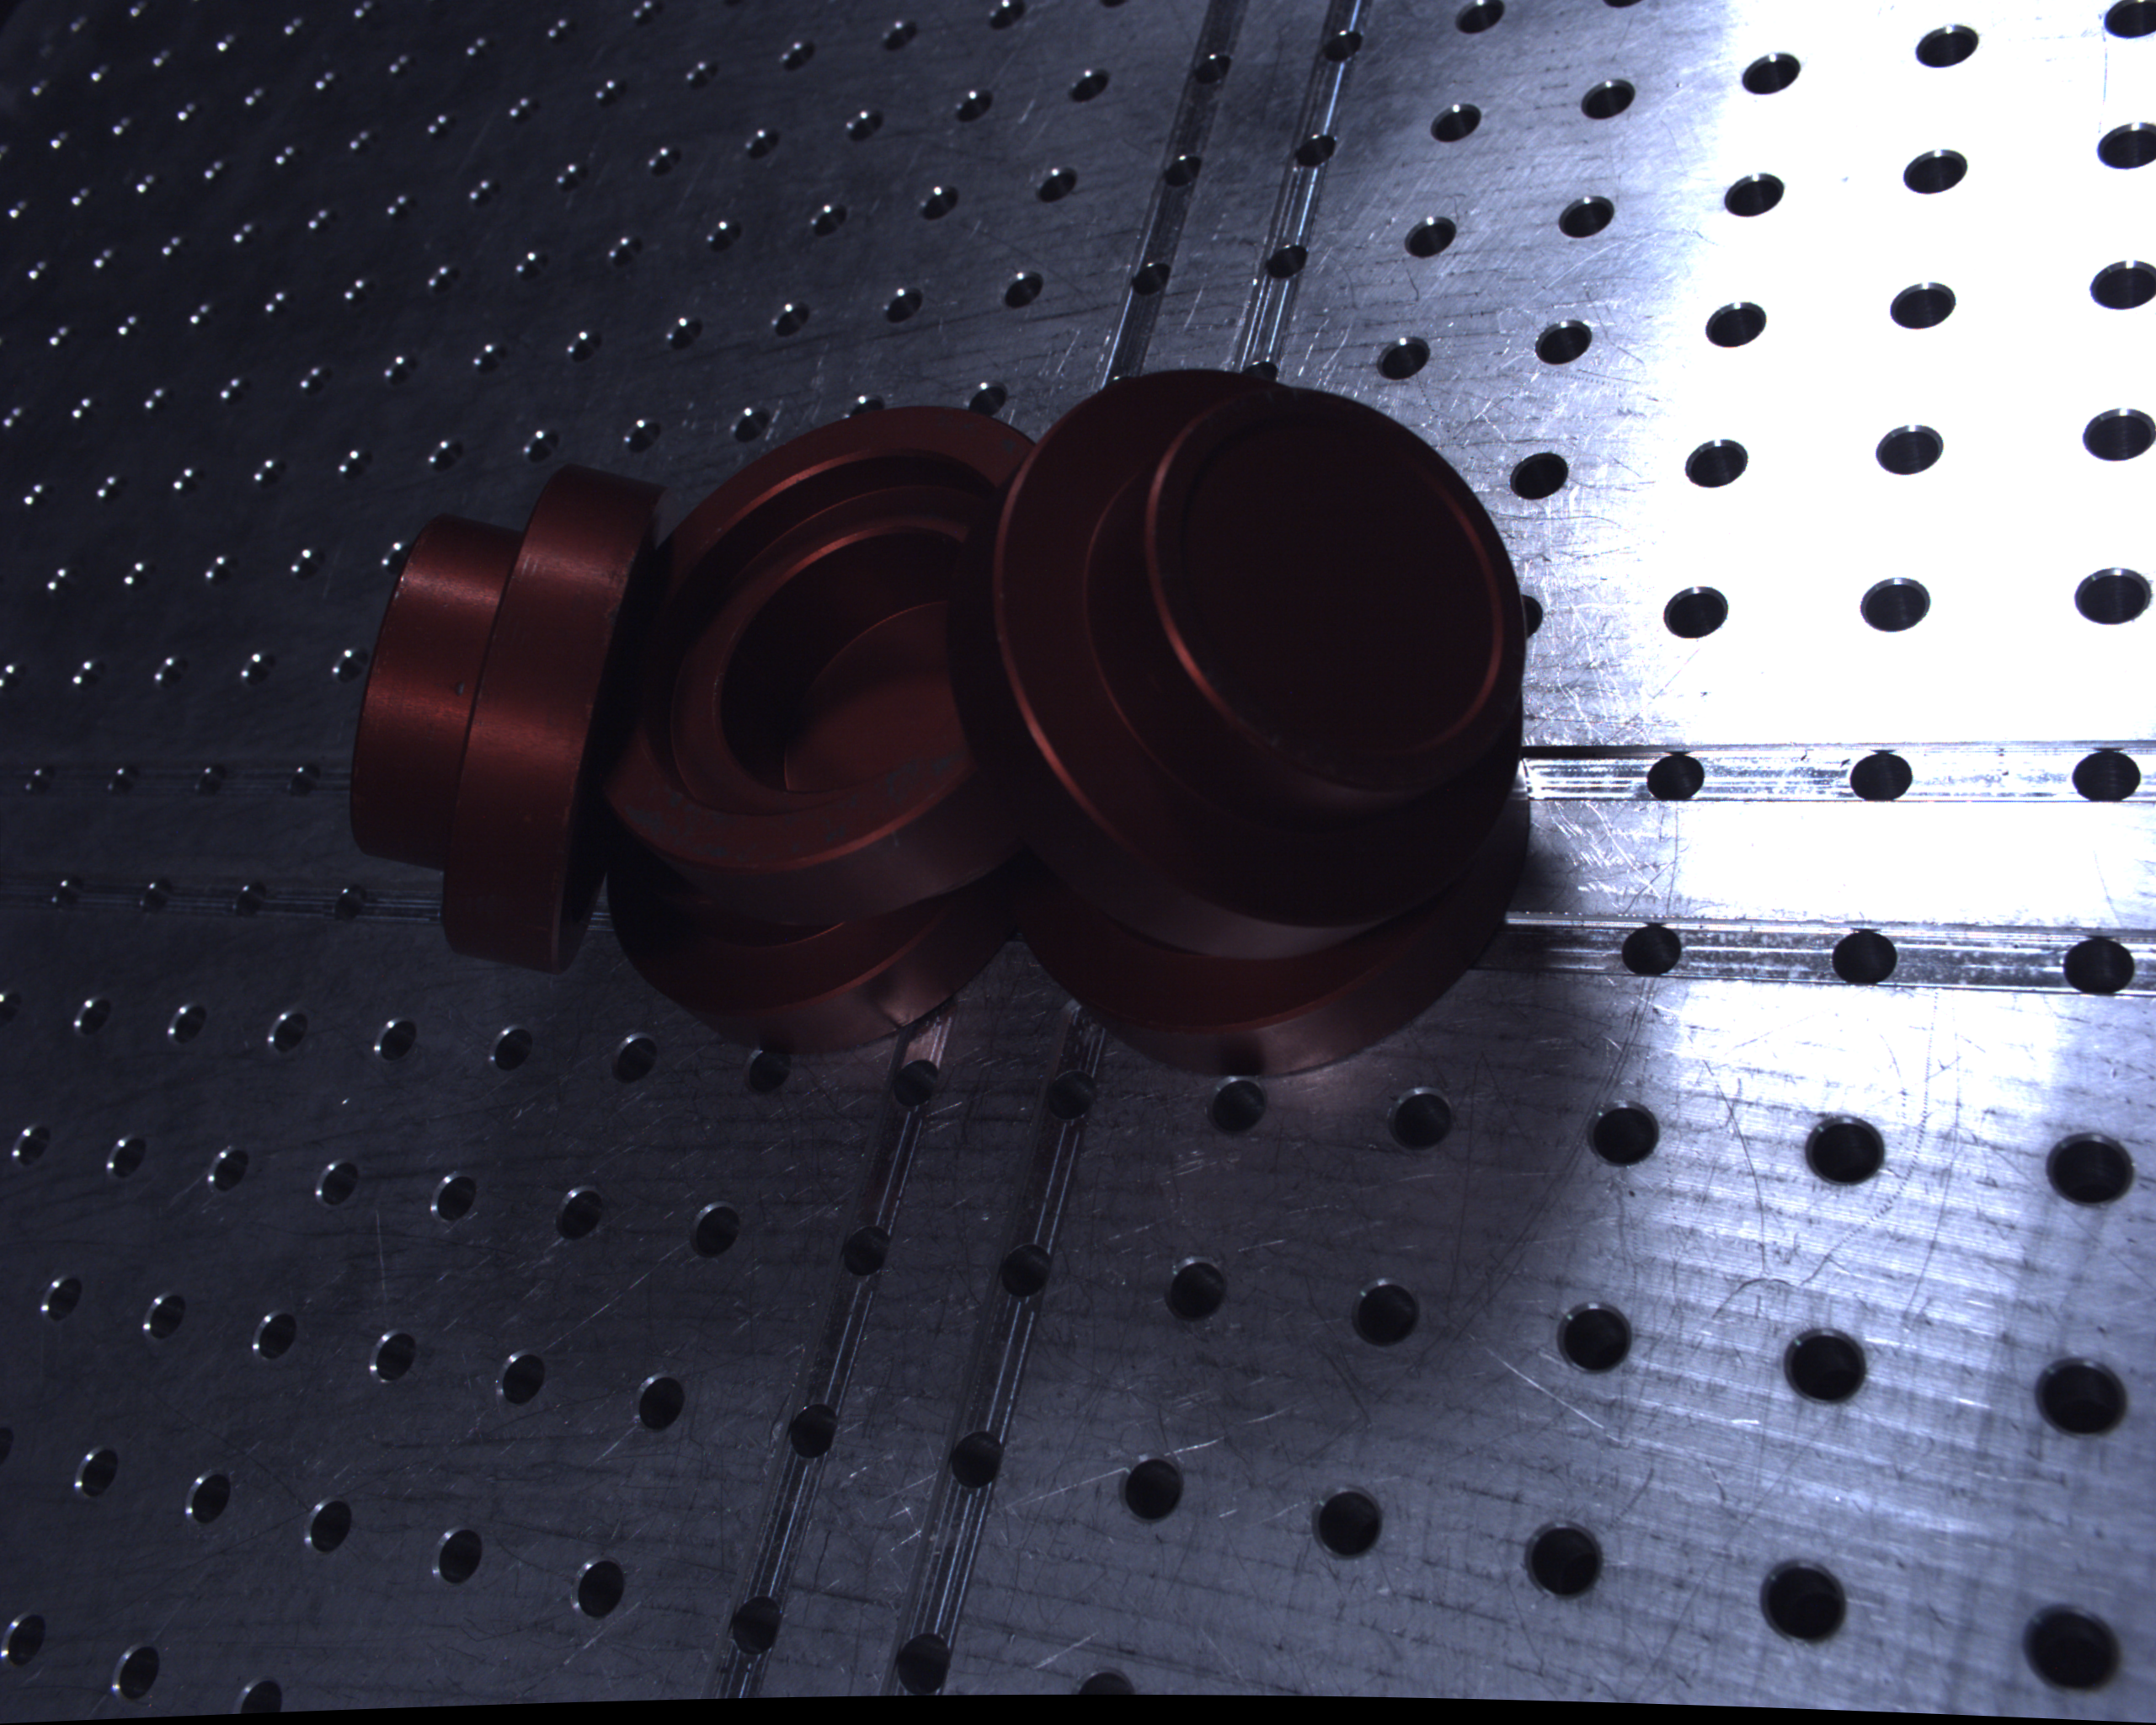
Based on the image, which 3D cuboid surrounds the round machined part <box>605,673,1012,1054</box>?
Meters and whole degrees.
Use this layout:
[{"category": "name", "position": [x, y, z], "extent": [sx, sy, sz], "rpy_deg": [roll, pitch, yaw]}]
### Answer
[{"category": "round machined part", "position": [-0.057, -0.013, 0.433], "extent": [0.098, 0.042, 0.098], "rpy_deg": [-13, 56, 20]}]

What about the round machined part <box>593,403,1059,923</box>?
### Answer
[{"category": "round machined part", "position": [-0.036, -0.032, 0.379], "extent": [0.098, 0.042, 0.098], "rpy_deg": [-13, 56, 20]}]

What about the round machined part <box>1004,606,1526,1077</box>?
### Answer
[{"category": "round machined part", "position": [0.030, -0.013, 0.388], "extent": [0.098, 0.042, 0.098], "rpy_deg": [-13, 56, 20]}]

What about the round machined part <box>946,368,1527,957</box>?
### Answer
[{"category": "round machined part", "position": [0.032, -0.037, 0.337], "extent": [0.042, 0.099, 0.098], "rpy_deg": [-37, 35, 59]}]

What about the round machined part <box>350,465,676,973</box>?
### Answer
[{"category": "round machined part", "position": [-0.110, -0.030, 0.406], "extent": [0.042, 0.098, 0.098], "rpy_deg": [13, 62, -8]}]
